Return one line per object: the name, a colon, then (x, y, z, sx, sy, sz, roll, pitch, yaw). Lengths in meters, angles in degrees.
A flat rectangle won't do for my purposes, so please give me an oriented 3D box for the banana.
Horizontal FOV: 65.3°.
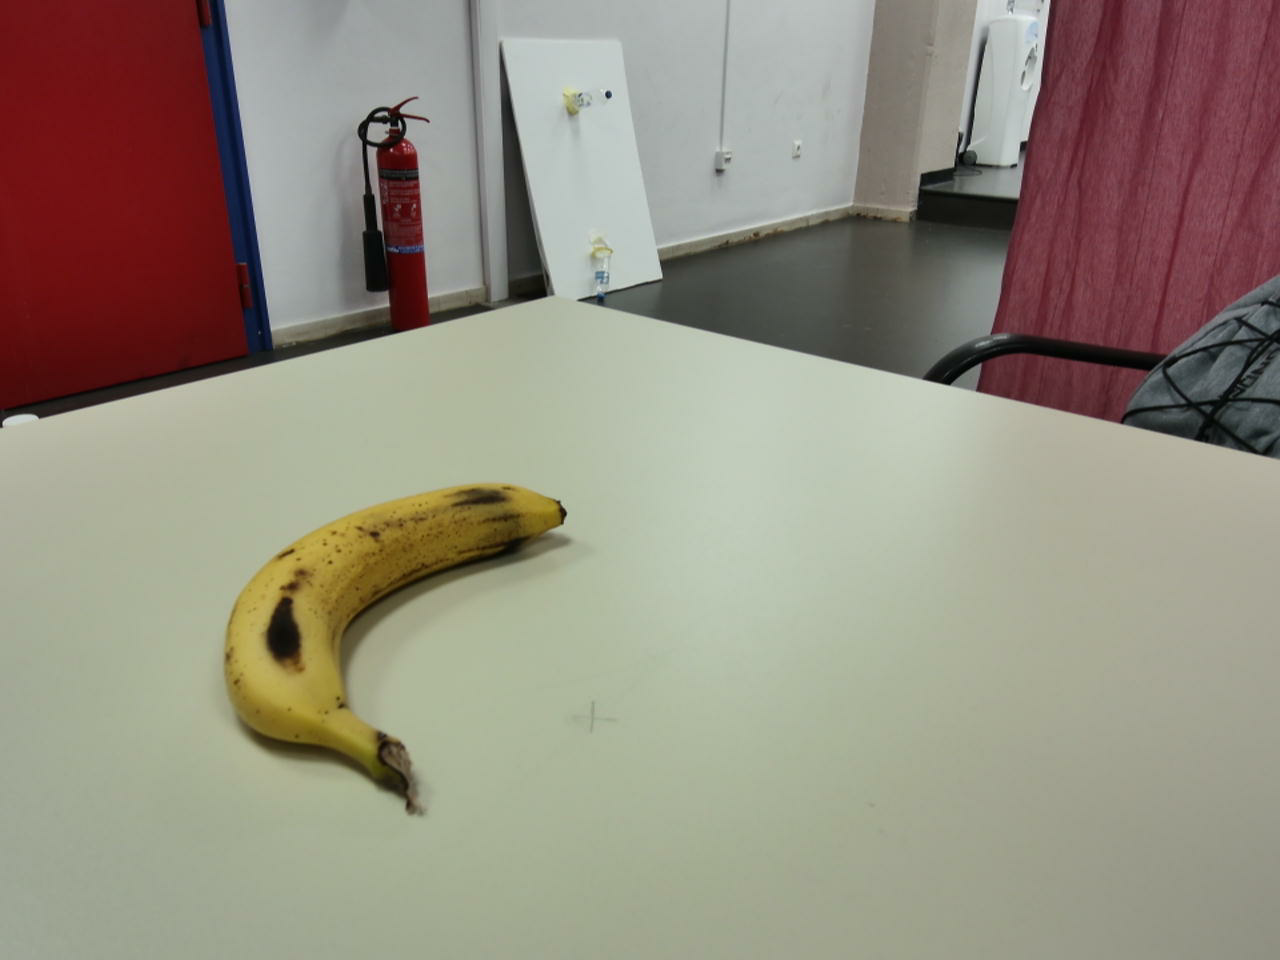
banana: (-0.098, 0.044, 0.397, 0.097, 0.038, 0.186, 6, 23, 10)
